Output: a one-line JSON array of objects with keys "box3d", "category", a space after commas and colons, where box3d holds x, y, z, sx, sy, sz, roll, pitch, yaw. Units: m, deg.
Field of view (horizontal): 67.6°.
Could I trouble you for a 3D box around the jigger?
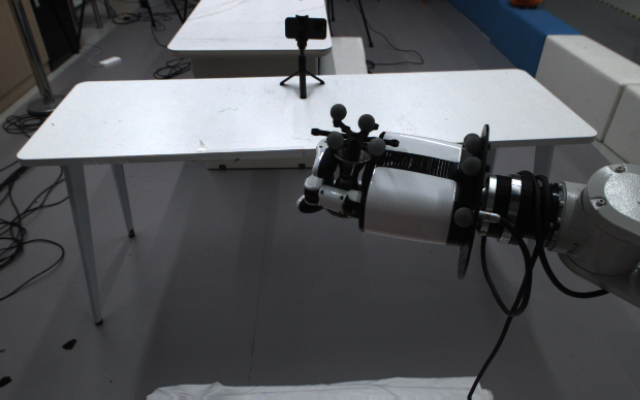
[{"box3d": [0.029, -0.021, 0.522, 0.043, 0.071, 0.043, 7, 32, -4], "category": "jigger"}]
